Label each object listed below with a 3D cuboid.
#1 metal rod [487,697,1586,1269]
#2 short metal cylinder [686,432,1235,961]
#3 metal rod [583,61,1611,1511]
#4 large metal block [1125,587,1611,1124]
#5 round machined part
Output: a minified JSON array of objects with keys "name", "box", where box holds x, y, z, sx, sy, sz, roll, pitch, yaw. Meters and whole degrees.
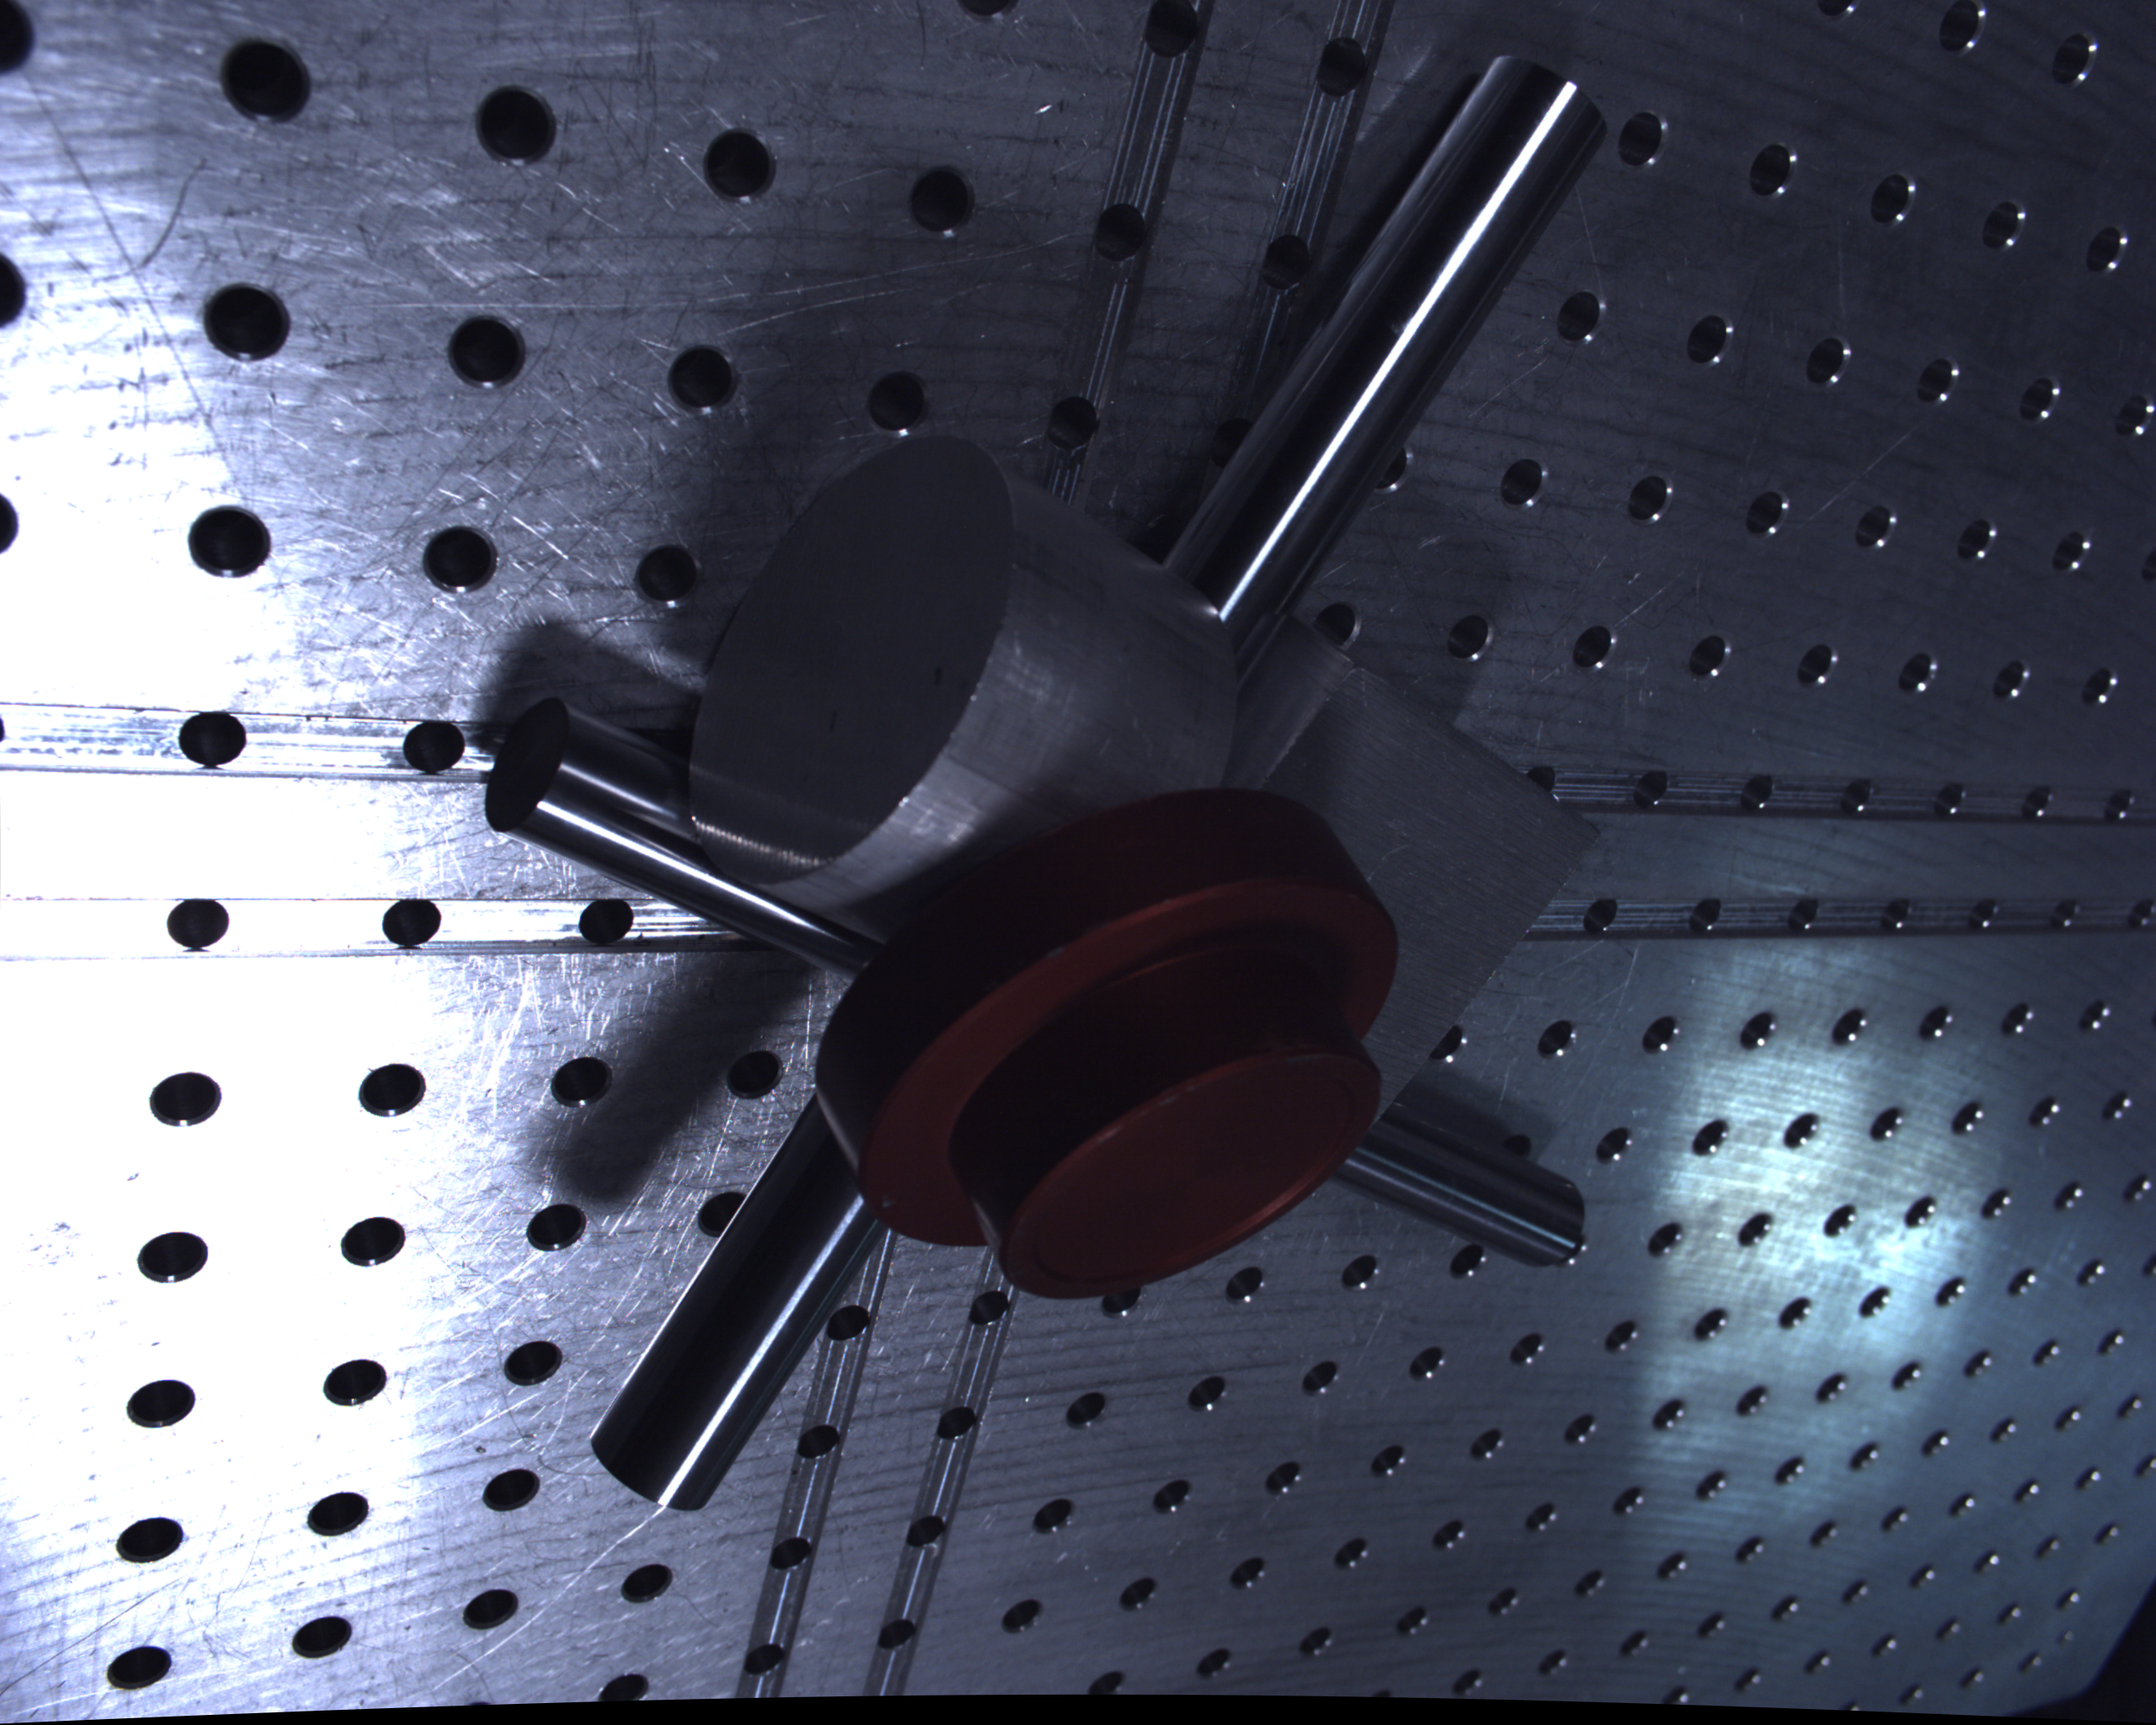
[{"name":"metal rod","box":[0.014,0.038,0.443,0.301,0.025,0.025,27,103,-38]},{"name":"short metal cylinder","box":[-0.021,-0.024,0.350,0.050,0.080,0.080,28,103,-38]},{"name":"metal rod","box":[0.002,-0.012,0.381,0.025,0.025,0.299,32,93,-39]},{"name":"large metal block","box":[0.044,-0.001,0.416,0.080,0.050,0.080,29,102,-38]},{"name":"round machined part","box":[0.010,0.036,0.345,0.099,0.042,0.098,-21,148,-14]}]
